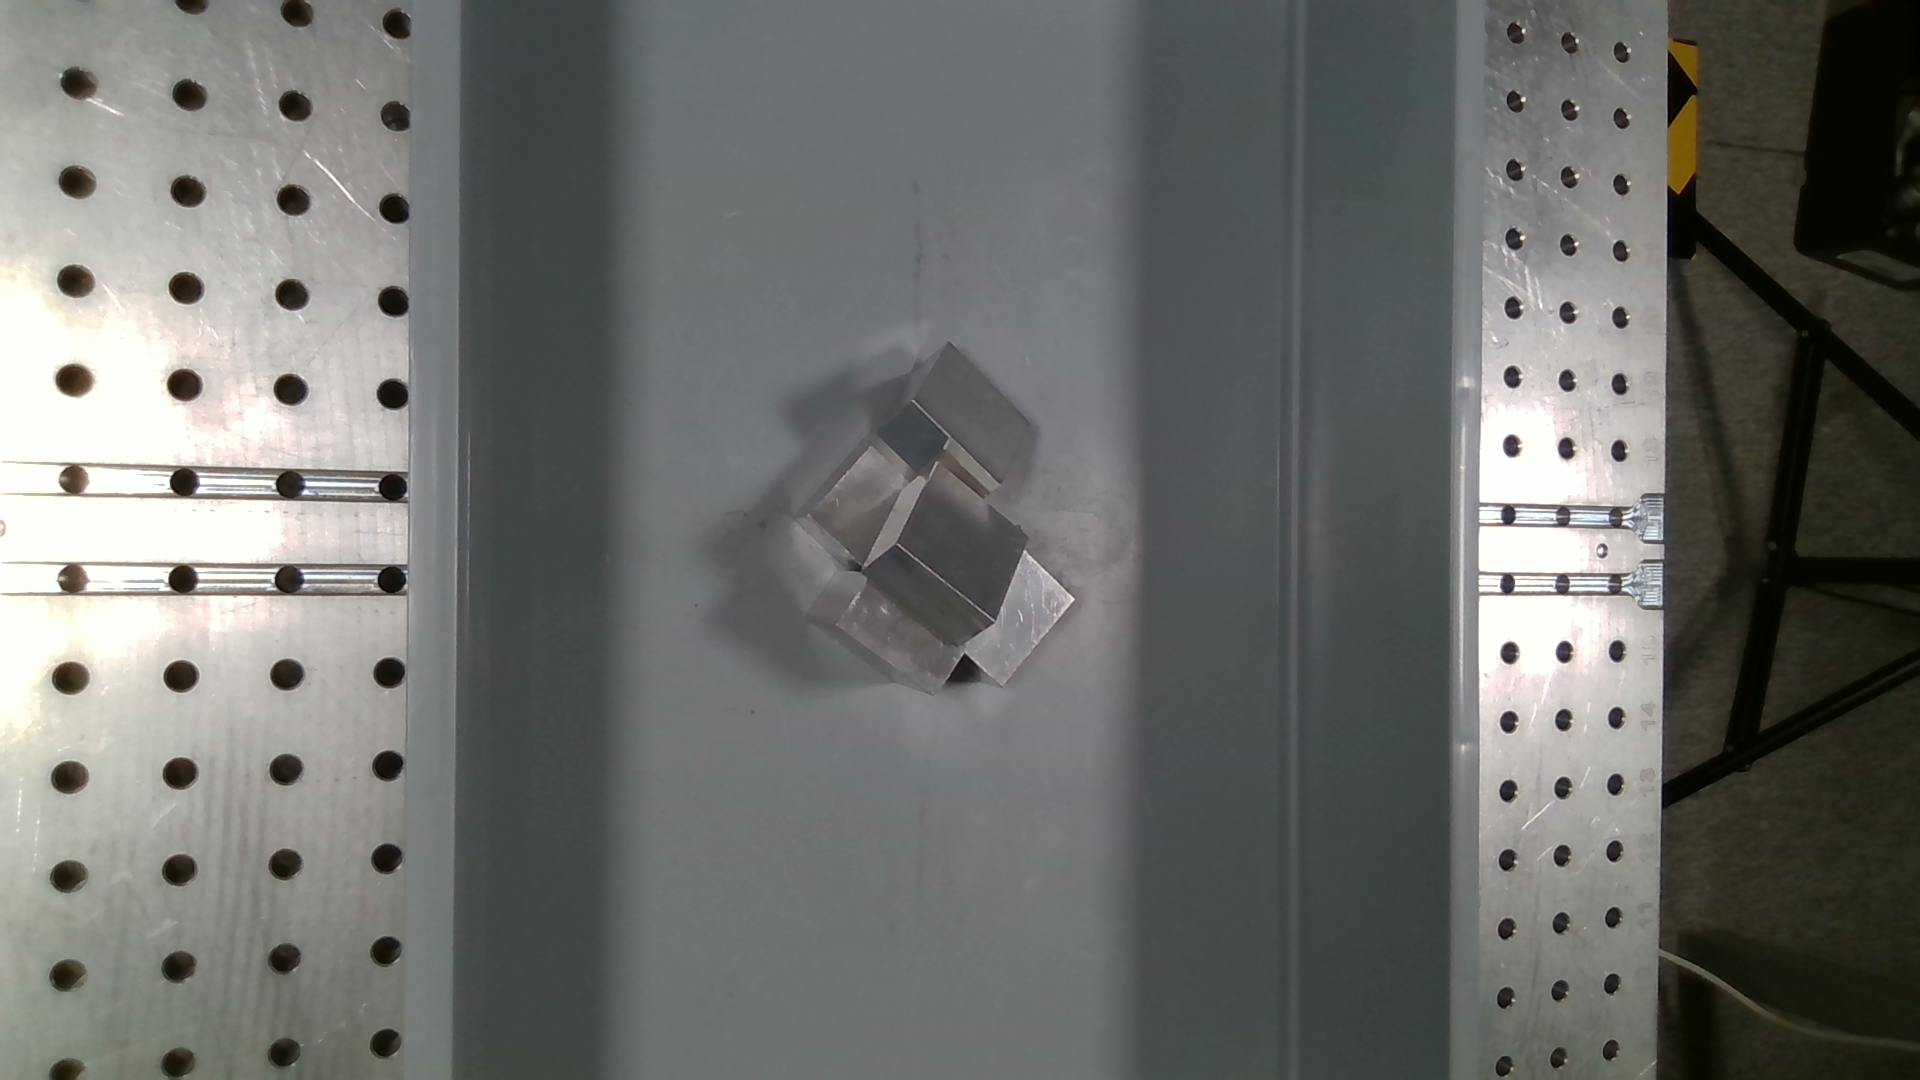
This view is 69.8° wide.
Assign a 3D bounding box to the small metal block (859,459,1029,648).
[{"bbox_3d":[-0.005,0.005,0.543,0.050,0.025,0.050,39,44,-16],"label":"small metal block"}]

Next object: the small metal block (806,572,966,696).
[{"bbox_3d":[-0.031,0.037,0.560,0.050,0.050,0.025,37,78,-17],"label":"small metal block"}]

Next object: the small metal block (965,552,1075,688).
[{"bbox_3d":[0.012,0.027,0.589,0.050,0.025,0.050,44,76,-15],"label":"small metal block"}]

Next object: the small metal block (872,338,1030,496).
[{"bbox_3d":[-0.003,-0.047,0.570,0.050,0.025,0.050,44,37,-15],"label":"small metal block"}]

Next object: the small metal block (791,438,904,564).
[{"bbox_3d":[-0.033,-0.012,0.572,0.050,0.025,0.050,44,76,-15],"label":"small metal block"}]
